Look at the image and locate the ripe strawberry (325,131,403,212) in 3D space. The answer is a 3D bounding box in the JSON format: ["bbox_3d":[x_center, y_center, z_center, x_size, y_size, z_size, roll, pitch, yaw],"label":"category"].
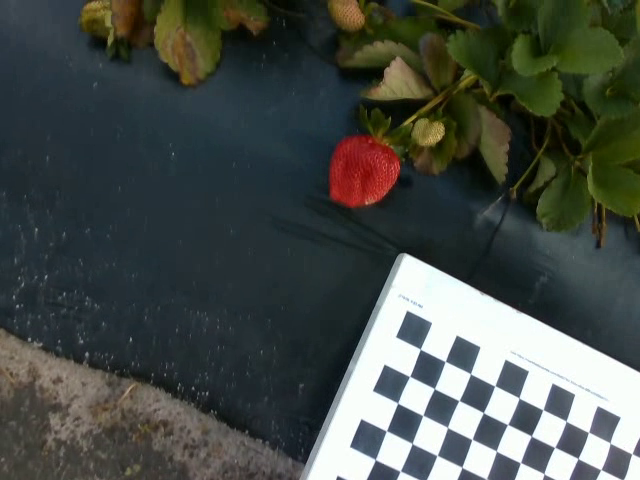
[{"bbox_3d":[0.039,-0.059,0.448,0.067,0.075,0.039,29,-10,-3],"label":"ripe strawberry"}]
